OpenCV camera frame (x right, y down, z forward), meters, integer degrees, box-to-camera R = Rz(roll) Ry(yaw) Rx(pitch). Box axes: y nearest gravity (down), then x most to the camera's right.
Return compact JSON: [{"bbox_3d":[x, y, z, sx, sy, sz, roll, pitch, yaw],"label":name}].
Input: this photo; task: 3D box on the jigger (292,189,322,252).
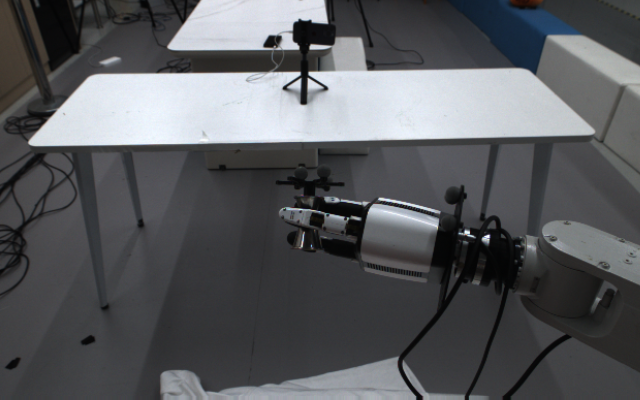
[{"bbox_3d":[-0.015,0.029,0.622,0.043,0.071,0.043,2,-6,0],"label":"jigger"}]
